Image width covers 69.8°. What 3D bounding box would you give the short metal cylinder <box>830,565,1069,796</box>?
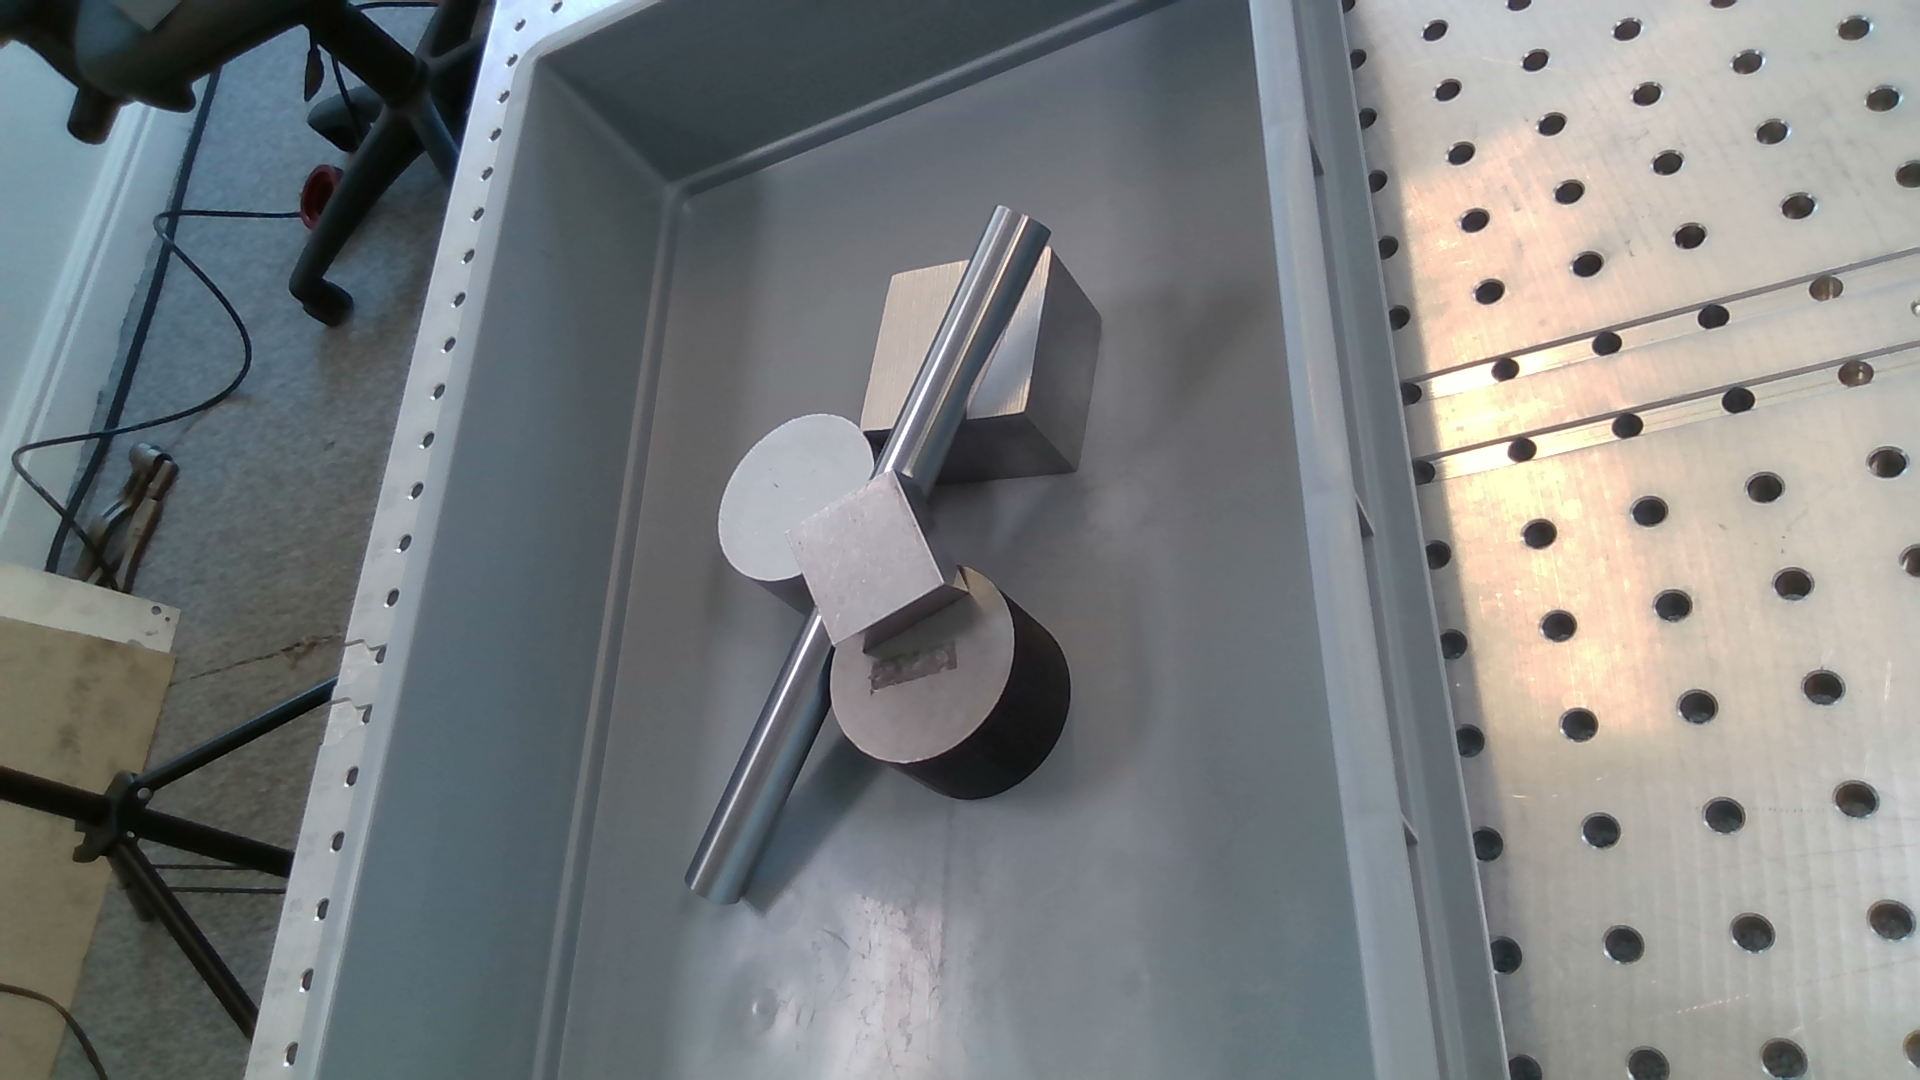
[{"bbox_3d":[-0.004,0.055,0.541,0.080,0.050,0.080,-14,59,25],"label":"short metal cylinder"}]

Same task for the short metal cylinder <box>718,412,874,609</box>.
[{"bbox_3d":[-0.059,-0.009,0.610,0.080,0.050,0.080,-14,59,25],"label":"short metal cylinder"}]

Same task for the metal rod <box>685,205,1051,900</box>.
[{"bbox_3d":[-0.039,0.008,0.558,0.025,0.025,0.300,30,97,39],"label":"metal rod"}]

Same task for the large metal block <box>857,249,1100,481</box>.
[{"bbox_3d":[0.009,-0.075,0.600,0.080,0.050,0.080,-4,64,30],"label":"large metal block"}]

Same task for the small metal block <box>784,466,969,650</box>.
[{"bbox_3d":[-0.032,0.008,0.526,0.050,0.025,0.050,-30,71,14],"label":"small metal block"}]
